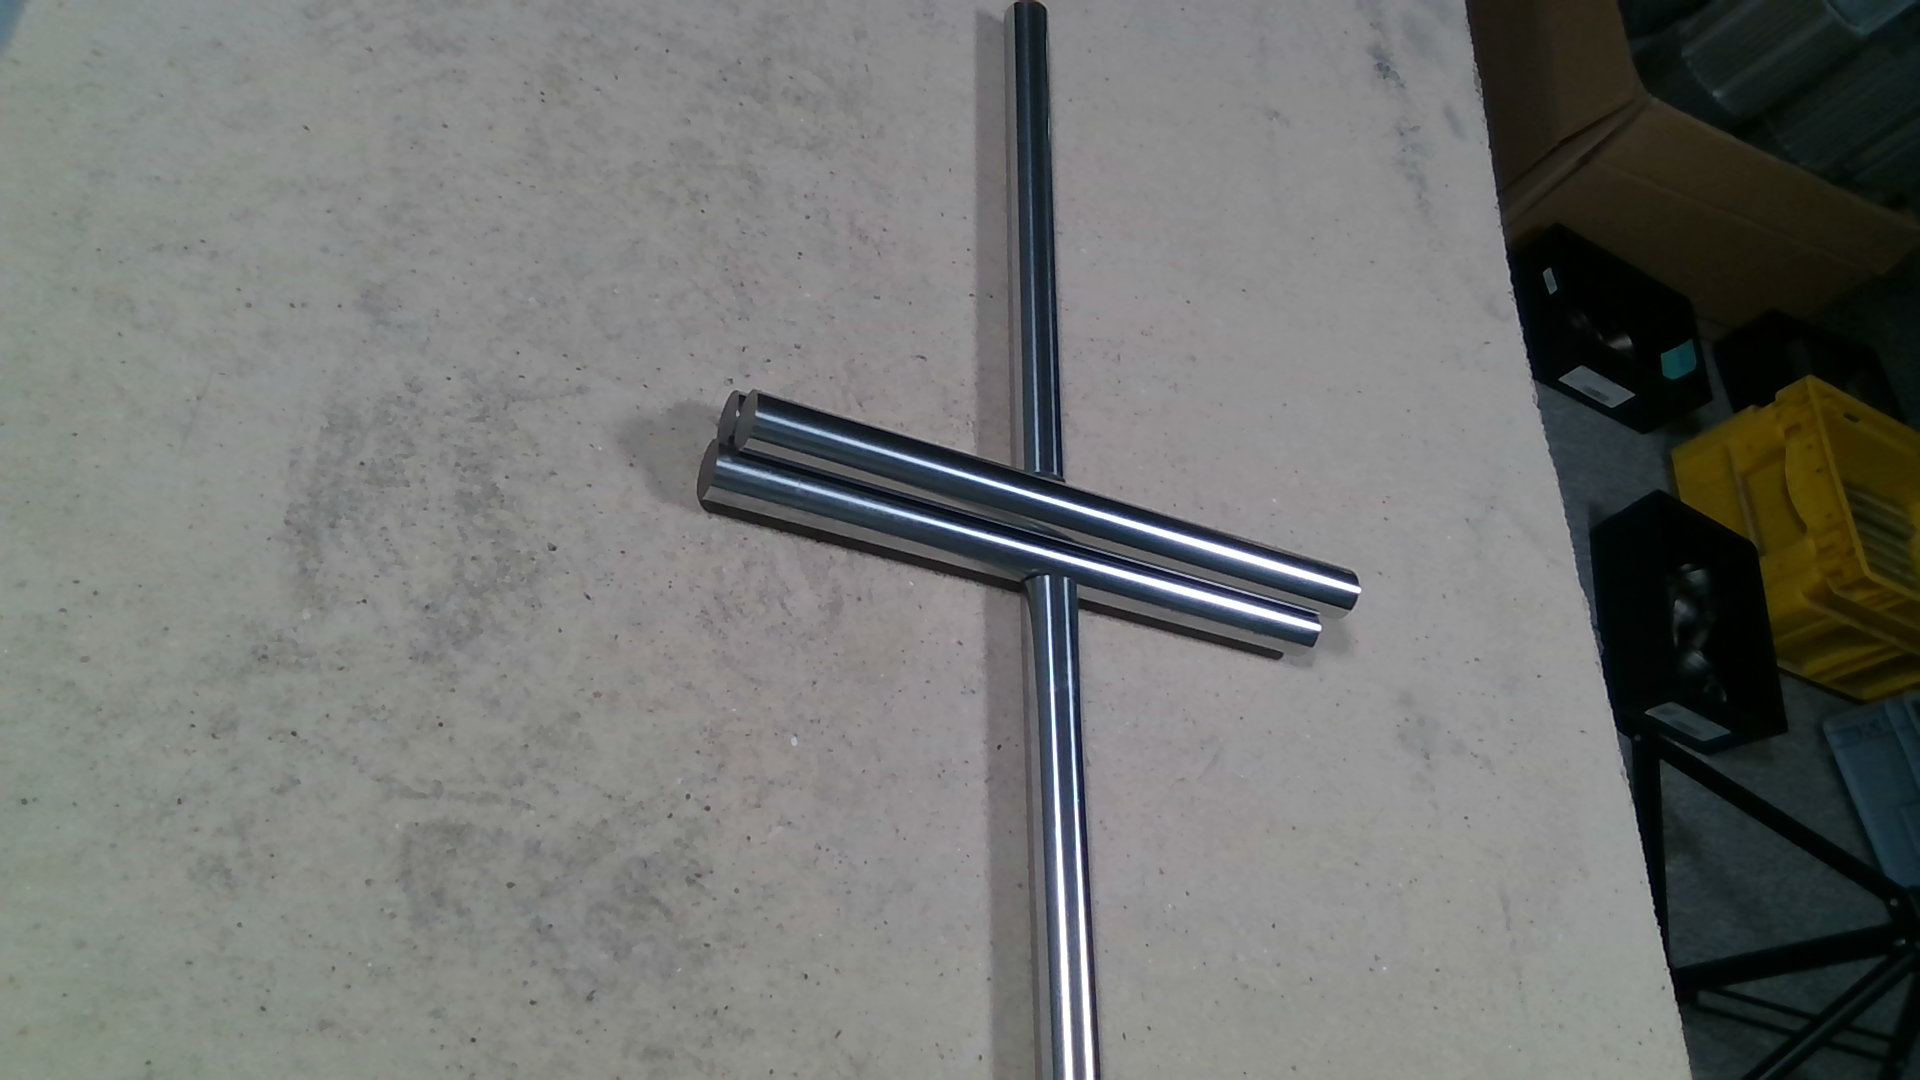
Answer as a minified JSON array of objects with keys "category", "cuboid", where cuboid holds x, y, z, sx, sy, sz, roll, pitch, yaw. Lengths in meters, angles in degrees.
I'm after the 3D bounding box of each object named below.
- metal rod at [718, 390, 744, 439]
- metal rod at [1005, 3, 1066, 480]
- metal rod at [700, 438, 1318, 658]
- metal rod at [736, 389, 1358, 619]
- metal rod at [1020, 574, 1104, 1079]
[{"category":"metal rod","cuboid":[0.038,-0.012,0.617,0.300,0.025,0.025,15,58,-24]},{"category":"metal rod","cuboid":[0.036,-0.156,0.692,0.025,0.025,0.299,15,59,-25]},{"category":"metal rod","cuboid":[0.033,0.008,0.603,0.300,0.025,0.025,15,58,-24]},{"category":"metal rod","cuboid":[0.049,-0.010,0.596,0.300,0.025,0.025,15,58,-24]},{"category":"metal rod","cuboid":[0.040,0.153,0.529,0.025,0.025,0.299,14,59,-25]}]
